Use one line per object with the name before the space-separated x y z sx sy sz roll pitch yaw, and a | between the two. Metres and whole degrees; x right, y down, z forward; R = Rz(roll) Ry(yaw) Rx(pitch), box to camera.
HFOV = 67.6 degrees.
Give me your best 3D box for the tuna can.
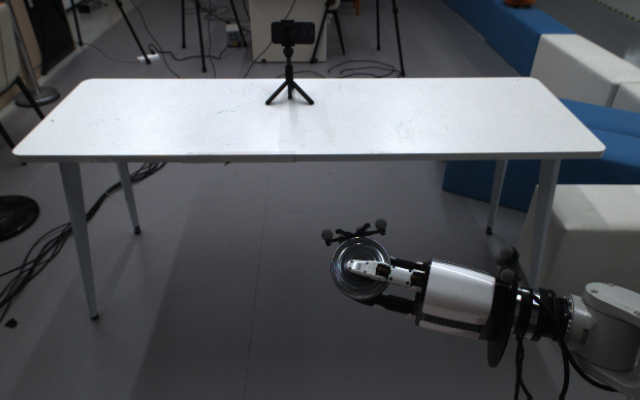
tuna can | 0.062 0.102 0.678 0.085 0.034 0.085 -4 68 9
